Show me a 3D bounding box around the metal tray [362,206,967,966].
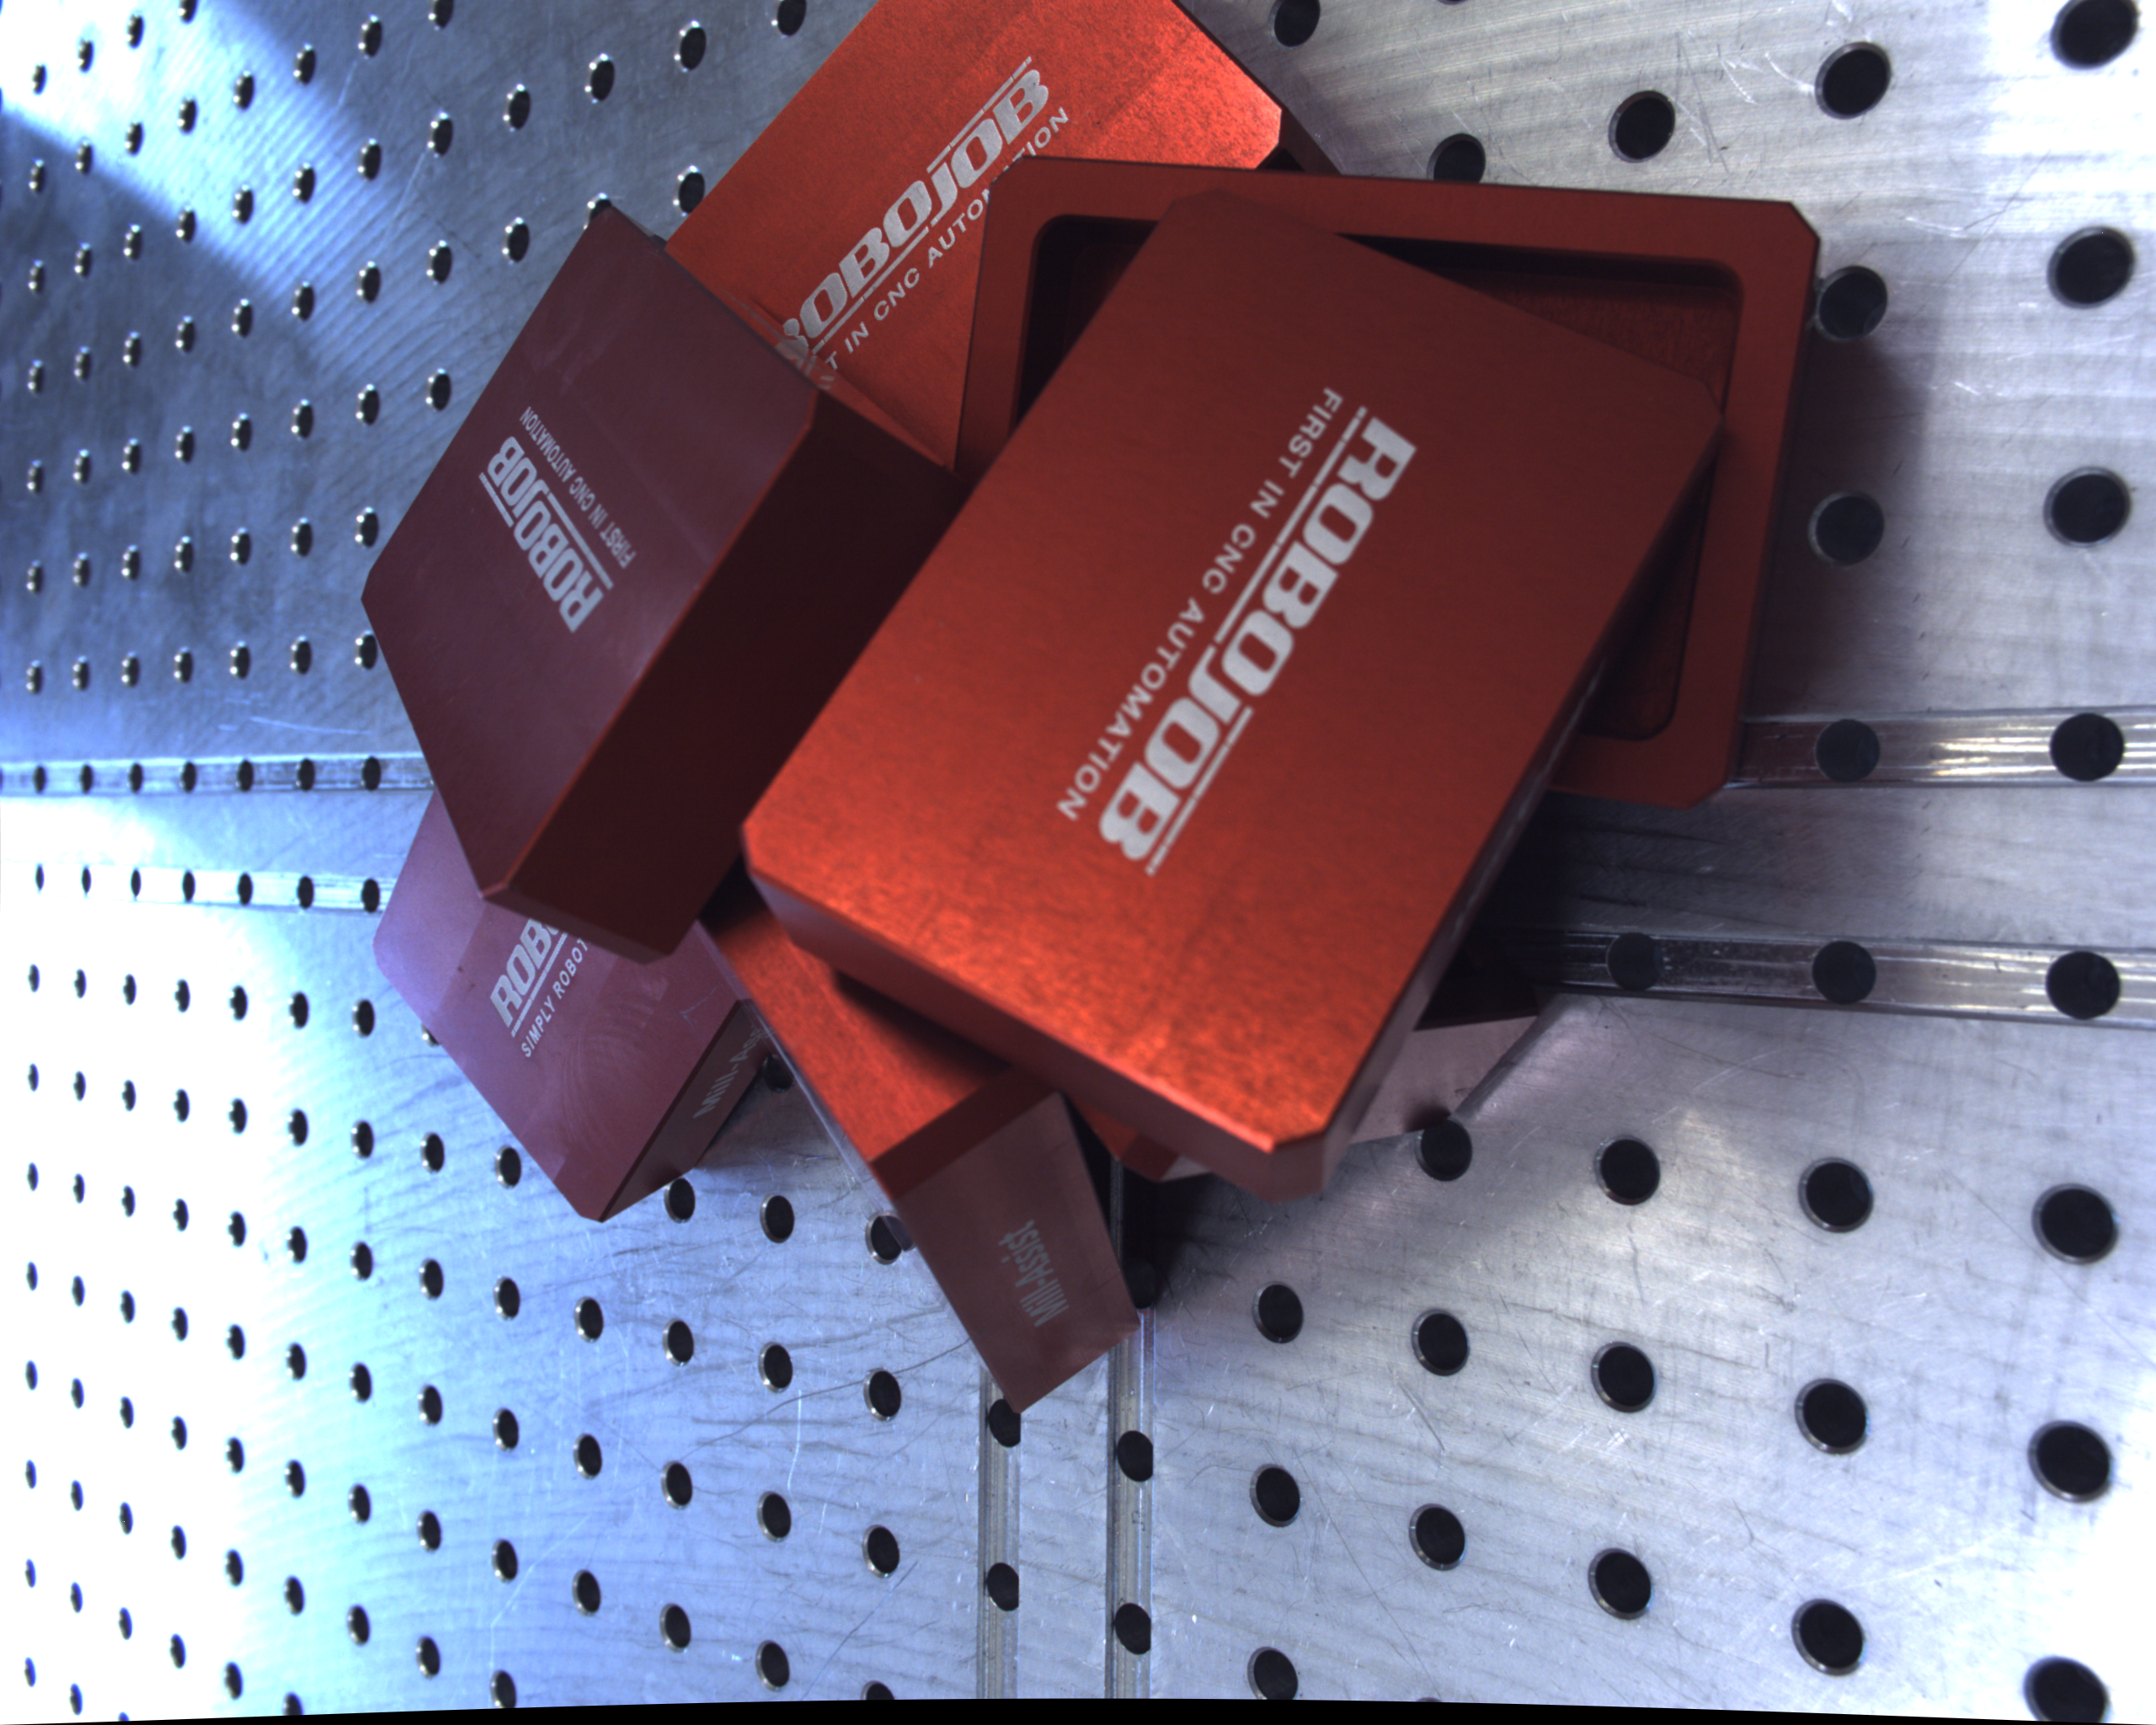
[{"bbox_3d":[-0.077,-0.053,0.356,0.090,0.030,0.130,-54,37,10],"label":"metal tray"}]

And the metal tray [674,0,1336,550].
[{"bbox_3d":[-0.026,-0.114,0.404,0.130,0.030,0.090,-43,65,15],"label":"metal tray"}]

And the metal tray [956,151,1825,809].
[{"bbox_3d":[0.046,-0.063,0.340,0.130,0.030,0.089,10,97,19],"label":"metal tray"}]

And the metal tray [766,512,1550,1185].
[{"bbox_3d":[0.011,-0.008,0.360,0.130,0.091,0.030,52,121,28],"label":"metal tray"}]

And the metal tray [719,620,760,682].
[{"bbox_3d":[-0.072,-0.049,0.466,0.090,0.030,0.129,46,117,30],"label":"metal tray"}]

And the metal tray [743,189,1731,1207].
[{"bbox_3d":[0.025,-0.028,0.304,0.090,0.030,0.130,27,72,15],"label":"metal tray"}]

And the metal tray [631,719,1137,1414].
[{"bbox_3d":[-0.033,0.040,0.377,0.030,0.130,0.090,-34,62,-11],"label":"metal tray"}]

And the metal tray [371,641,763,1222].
[{"bbox_3d":[-0.103,0.010,0.463,0.090,0.030,0.129,47,131,12],"label":"metal tray"}]
